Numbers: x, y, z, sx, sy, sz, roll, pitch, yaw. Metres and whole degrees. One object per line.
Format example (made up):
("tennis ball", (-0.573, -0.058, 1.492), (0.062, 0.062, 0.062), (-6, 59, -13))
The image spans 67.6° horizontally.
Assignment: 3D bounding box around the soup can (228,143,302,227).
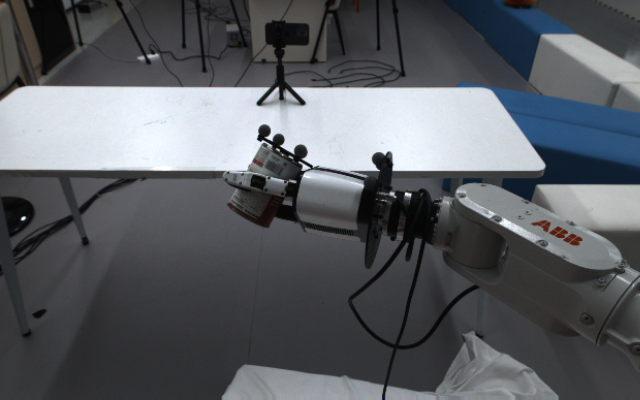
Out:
("soup can", (-0.077, -0.020, 0.684), (0.067, 0.101, 0.067), (30, 2, -1))
